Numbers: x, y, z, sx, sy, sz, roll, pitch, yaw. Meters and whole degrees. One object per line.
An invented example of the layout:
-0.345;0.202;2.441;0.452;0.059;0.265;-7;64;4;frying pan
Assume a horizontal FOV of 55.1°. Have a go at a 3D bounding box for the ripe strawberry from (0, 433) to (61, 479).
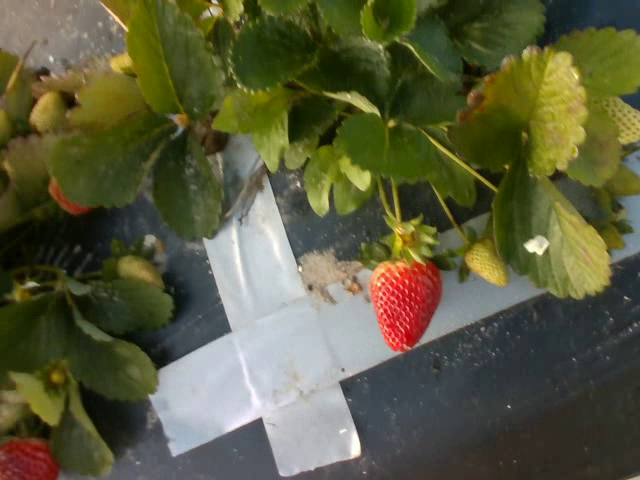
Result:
-0.084;0.067;0.175;0.018;0.023;0.020;-32;-20;32;ripe strawberry
